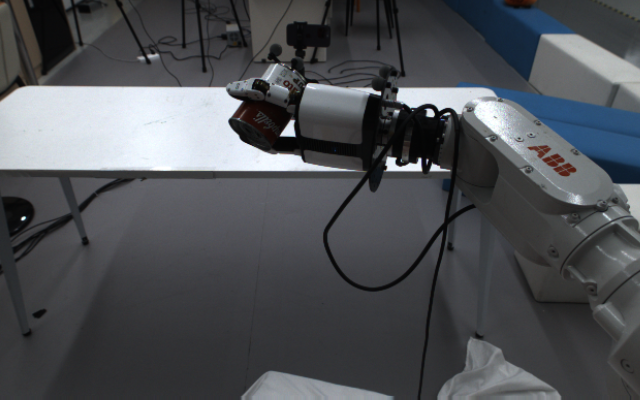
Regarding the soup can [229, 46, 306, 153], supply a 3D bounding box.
[{"bbox_3d":[-0.067,-0.127,0.655,0.067,0.067,0.101,24,73,28],"label":"soup can"}]
